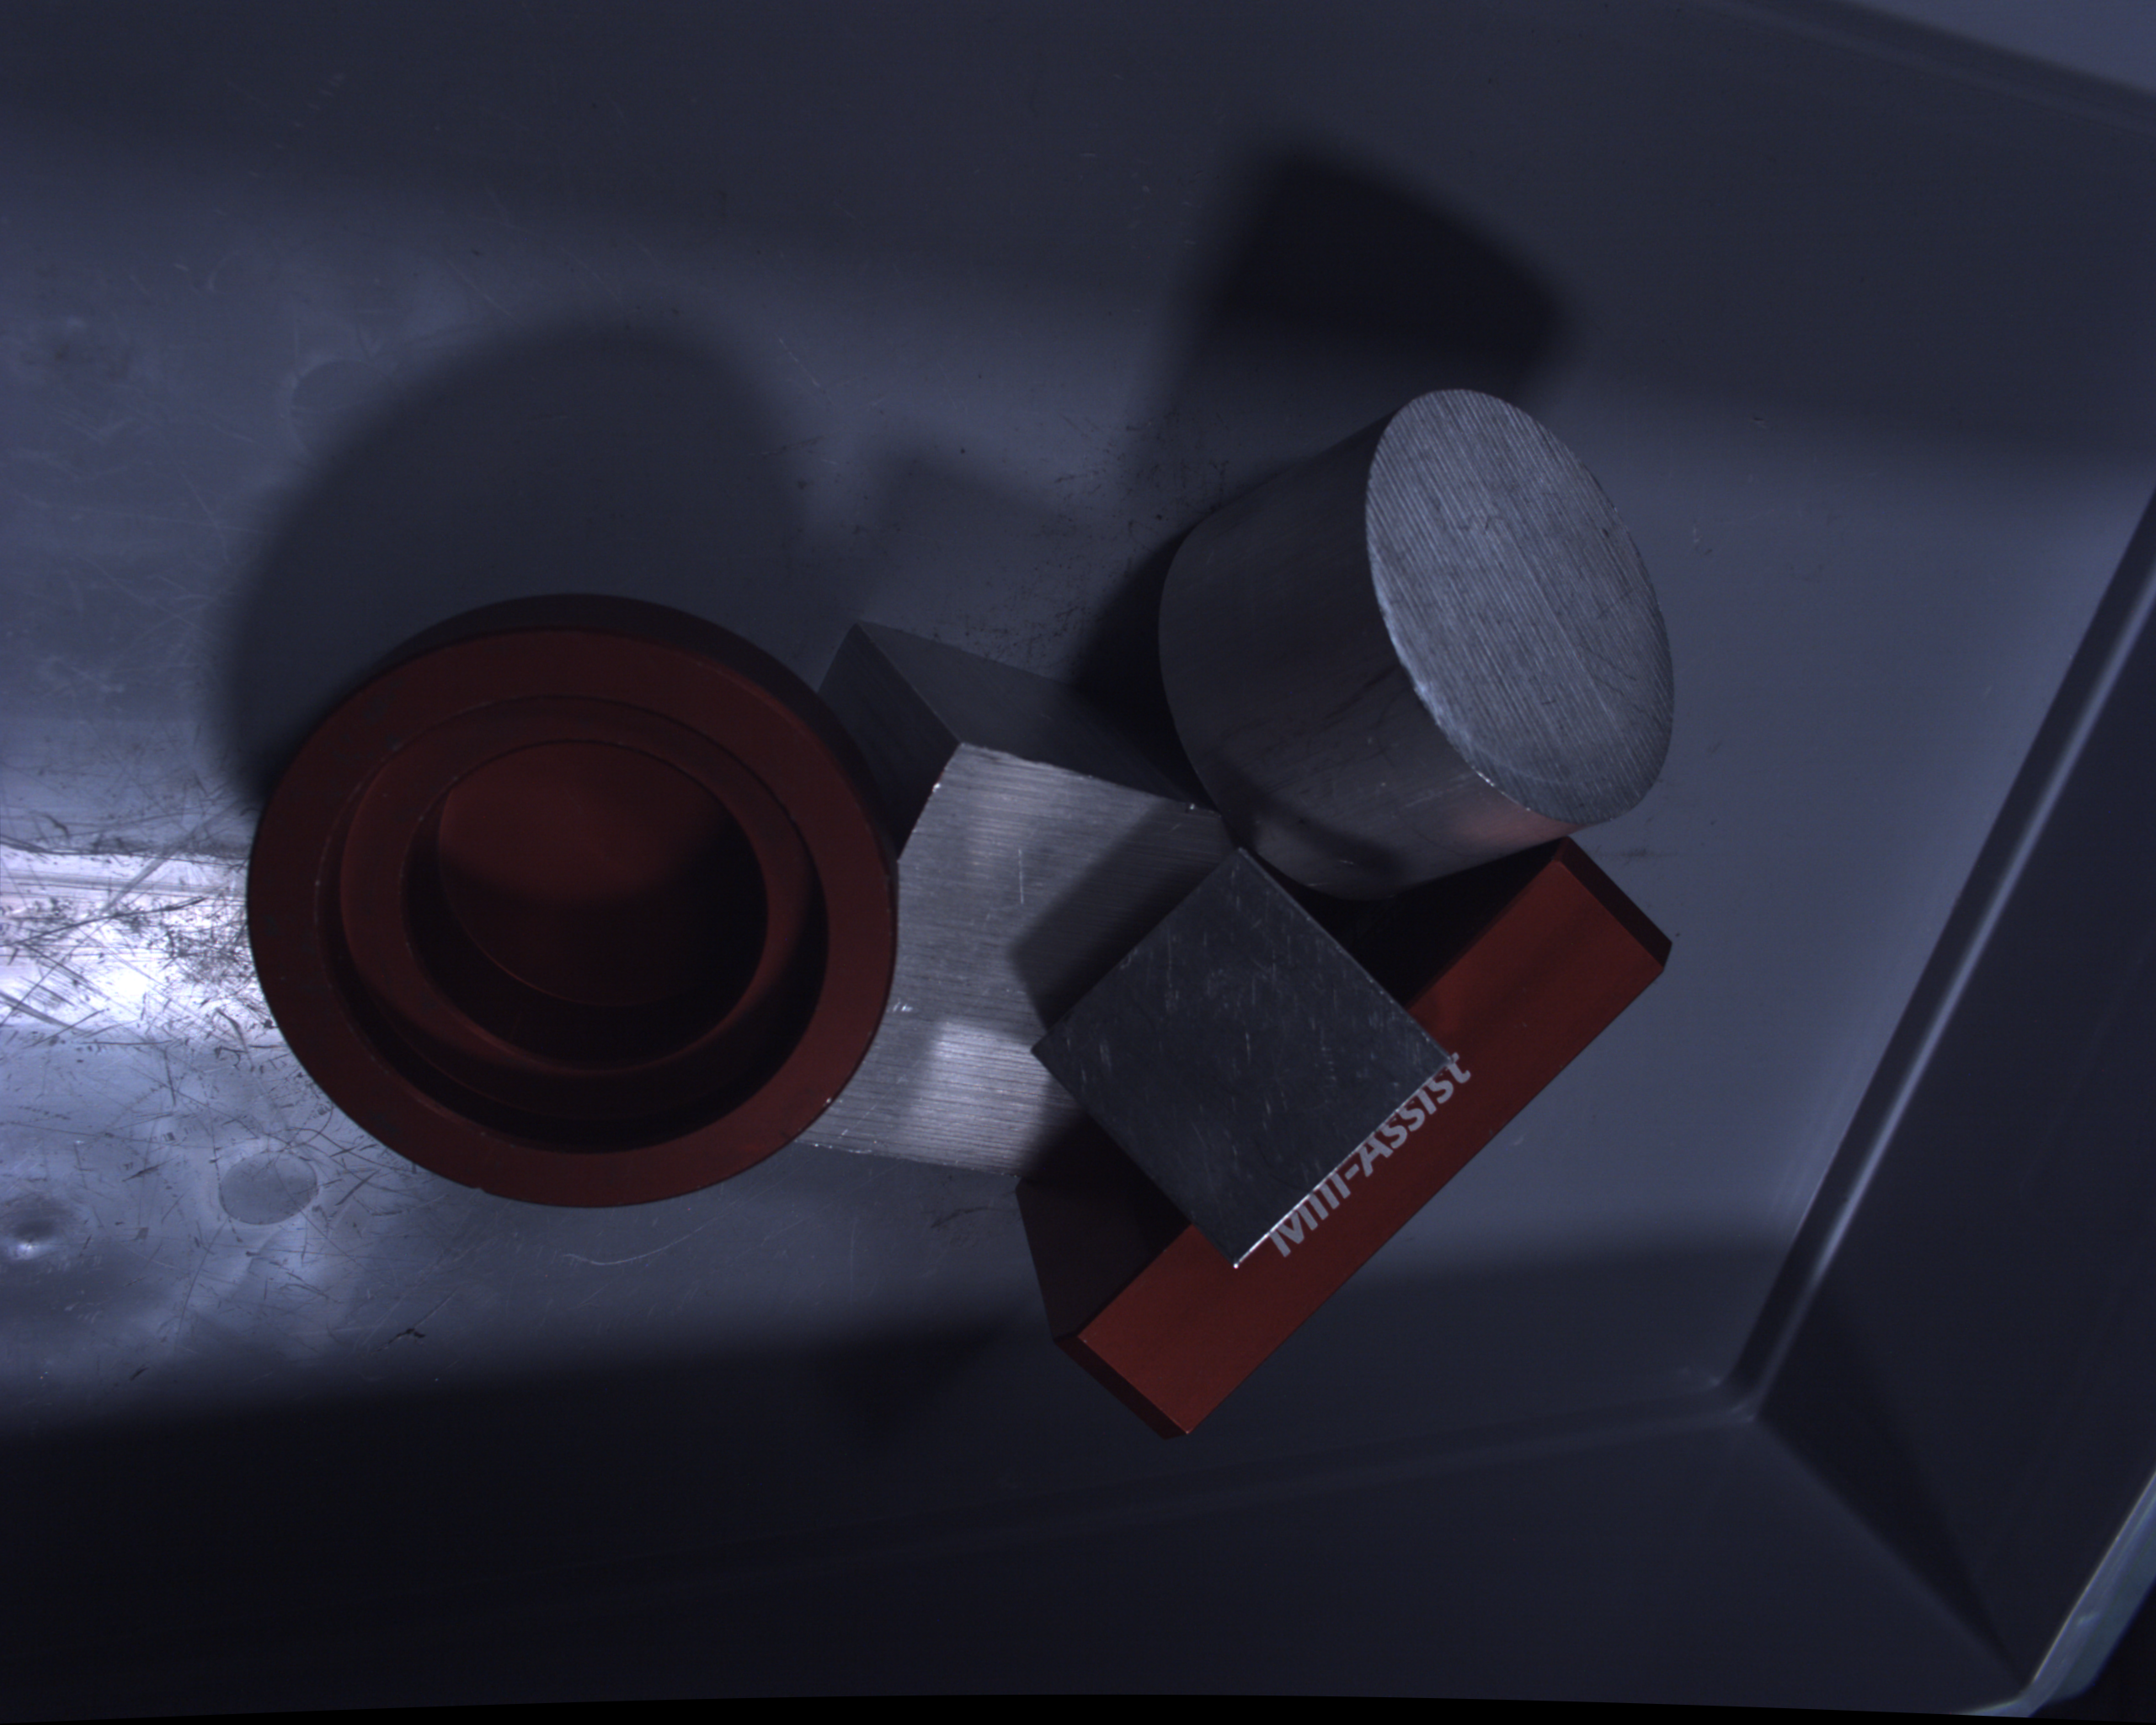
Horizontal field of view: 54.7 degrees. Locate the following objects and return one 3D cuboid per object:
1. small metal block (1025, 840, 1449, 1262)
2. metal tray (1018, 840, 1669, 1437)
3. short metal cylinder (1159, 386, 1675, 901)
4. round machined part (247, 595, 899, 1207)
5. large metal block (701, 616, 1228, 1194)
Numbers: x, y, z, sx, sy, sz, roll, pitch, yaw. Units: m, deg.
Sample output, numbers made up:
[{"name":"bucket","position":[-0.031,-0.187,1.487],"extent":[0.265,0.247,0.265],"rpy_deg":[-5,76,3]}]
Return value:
[{"name":"small metal block","position":[0.028,0.032,0.361],"extent":[0.050,0.050,0.025],"rpy_deg":[-44,168,3]},{"name":"metal tray","position":[0.047,0.043,0.417],"extent":[0.130,0.090,0.030],"rpy_deg":[-45,102,3]},{"name":"short metal cylinder","position":[0.061,-0.038,0.375],"extent":[0.081,0.080,0.050],"rpy_deg":[17,153,-35]},{"name":"round machined part","position":[-0.079,0.003,0.341],"extent":[0.099,0.042,0.097],"rpy_deg":[-2,111,-4]},{"name":"large metal block","position":[-0.016,0.010,0.390],"extent":[0.081,0.050,0.080],"rpy_deg":[16,110,-35]}]
